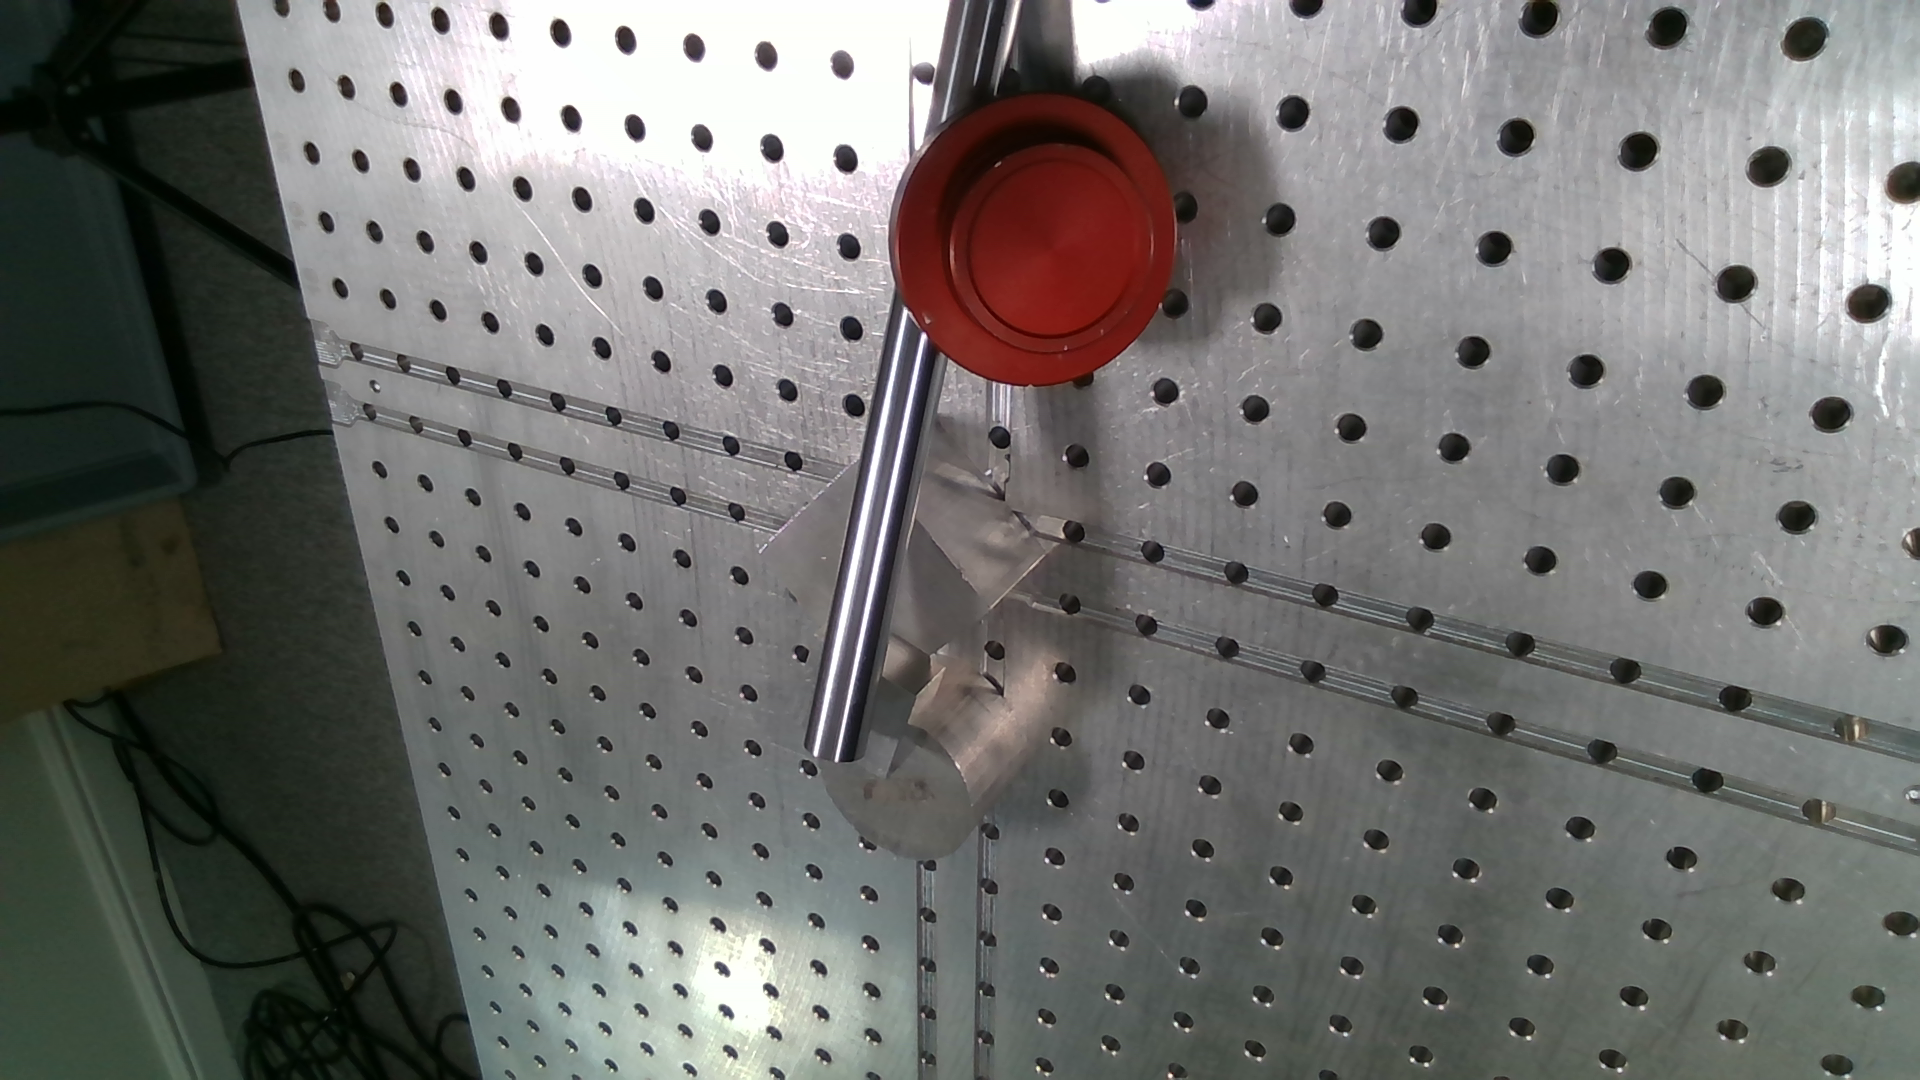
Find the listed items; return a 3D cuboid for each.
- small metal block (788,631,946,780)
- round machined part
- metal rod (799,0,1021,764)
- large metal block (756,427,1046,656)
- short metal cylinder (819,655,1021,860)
[{"bbox_3d":[-0.039,0.063,0.574,0.050,0.025,0.050,30,127,14],"label":"small metal block"},{"bbox_3d":[0.026,-0.100,0.466,0.098,0.042,0.098,-3,108,-9],"label":"round machined part"},{"bbox_3d":[-0.020,-0.058,0.507,0.025,0.025,0.300,19,107,22],"label":"metal rod"},{"bbox_3d":[-0.025,0.006,0.583,0.080,0.050,0.080,50,129,-2],"label":"large metal block"},{"bbox_3d":[-0.018,0.099,0.632,0.080,0.050,0.080,14,122,25],"label":"short metal cylinder"}]
